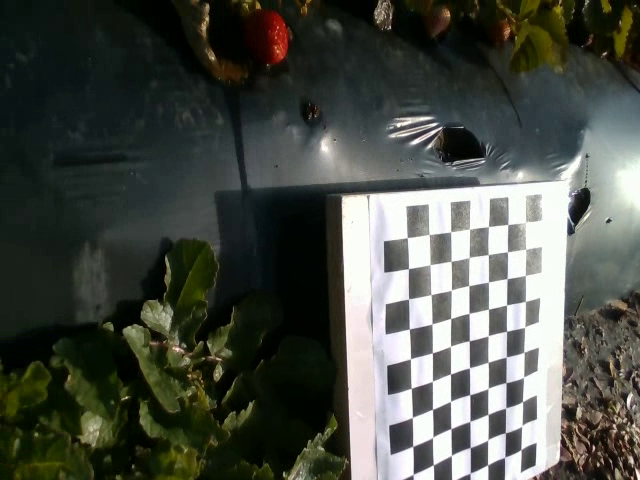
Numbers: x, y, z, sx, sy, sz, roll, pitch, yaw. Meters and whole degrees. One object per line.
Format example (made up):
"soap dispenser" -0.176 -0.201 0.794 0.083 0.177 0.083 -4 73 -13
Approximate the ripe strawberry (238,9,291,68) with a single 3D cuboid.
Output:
"ripe strawberry" -0.031 -0.120 0.412 0.046 0.054 0.037 20 -54 -37
